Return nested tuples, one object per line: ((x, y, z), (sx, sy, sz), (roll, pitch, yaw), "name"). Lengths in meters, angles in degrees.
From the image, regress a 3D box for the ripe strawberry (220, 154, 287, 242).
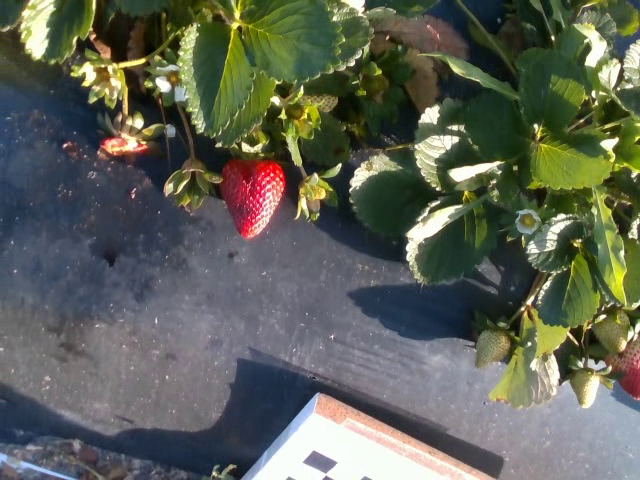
((-0.046, -0.024, 0.395), (0.052, 0.052, 0.041), (3, -20, 10), "ripe strawberry")
